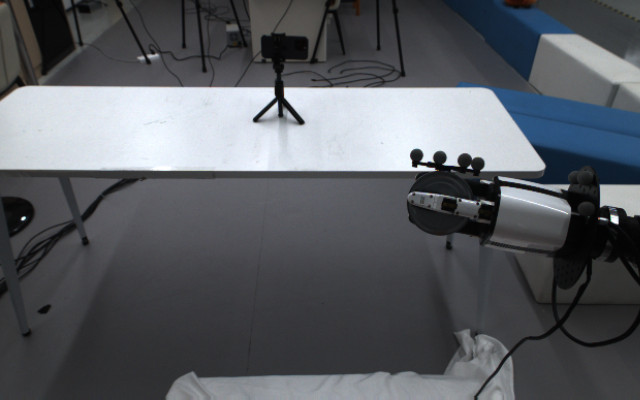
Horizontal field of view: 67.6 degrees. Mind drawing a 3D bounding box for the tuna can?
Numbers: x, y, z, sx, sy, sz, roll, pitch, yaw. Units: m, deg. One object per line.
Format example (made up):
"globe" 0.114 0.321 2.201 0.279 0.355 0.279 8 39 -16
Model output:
"tuna can" 0.162 0.000 0.647 0.085 0.085 0.034 11 2 12
